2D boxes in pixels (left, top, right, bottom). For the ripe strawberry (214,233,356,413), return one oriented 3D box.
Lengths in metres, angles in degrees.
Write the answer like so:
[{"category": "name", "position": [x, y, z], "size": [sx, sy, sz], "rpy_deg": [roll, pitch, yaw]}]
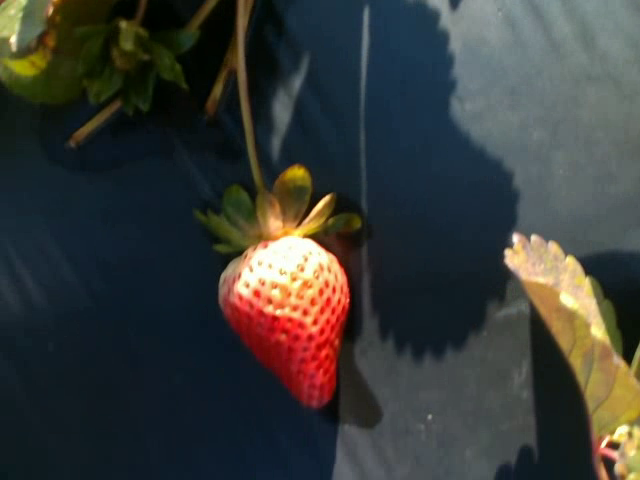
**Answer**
[{"category": "ripe strawberry", "position": [-0.007, 0.025, 0.169], "size": [0.043, 0.064, 0.044], "rpy_deg": [-14, -10, -36]}]
